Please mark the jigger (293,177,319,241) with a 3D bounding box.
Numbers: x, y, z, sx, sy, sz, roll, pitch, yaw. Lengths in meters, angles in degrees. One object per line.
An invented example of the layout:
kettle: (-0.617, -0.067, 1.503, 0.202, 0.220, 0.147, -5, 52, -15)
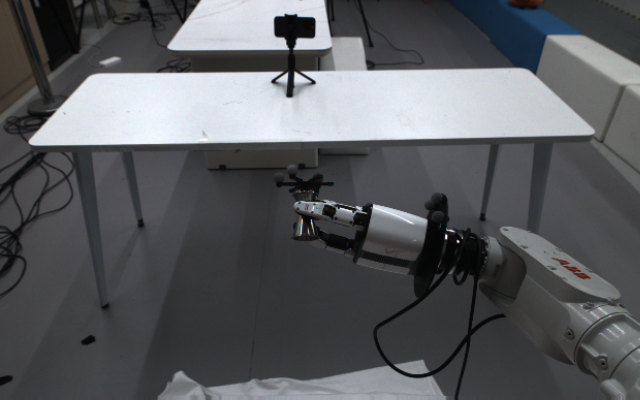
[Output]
jigger: (-0.022, 0.023, 0.725, 0.043, 0.043, 0.071, 0, 75, -3)
